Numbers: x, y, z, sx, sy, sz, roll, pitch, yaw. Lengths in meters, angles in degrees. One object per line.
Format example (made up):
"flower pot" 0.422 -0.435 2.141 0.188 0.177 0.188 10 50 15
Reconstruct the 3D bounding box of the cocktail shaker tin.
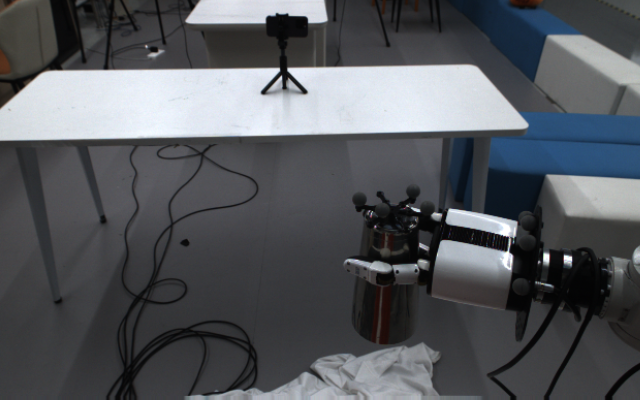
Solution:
"cocktail shaker tin" 0.092 0.089 0.626 0.093 0.170 0.093 -1 32 1
